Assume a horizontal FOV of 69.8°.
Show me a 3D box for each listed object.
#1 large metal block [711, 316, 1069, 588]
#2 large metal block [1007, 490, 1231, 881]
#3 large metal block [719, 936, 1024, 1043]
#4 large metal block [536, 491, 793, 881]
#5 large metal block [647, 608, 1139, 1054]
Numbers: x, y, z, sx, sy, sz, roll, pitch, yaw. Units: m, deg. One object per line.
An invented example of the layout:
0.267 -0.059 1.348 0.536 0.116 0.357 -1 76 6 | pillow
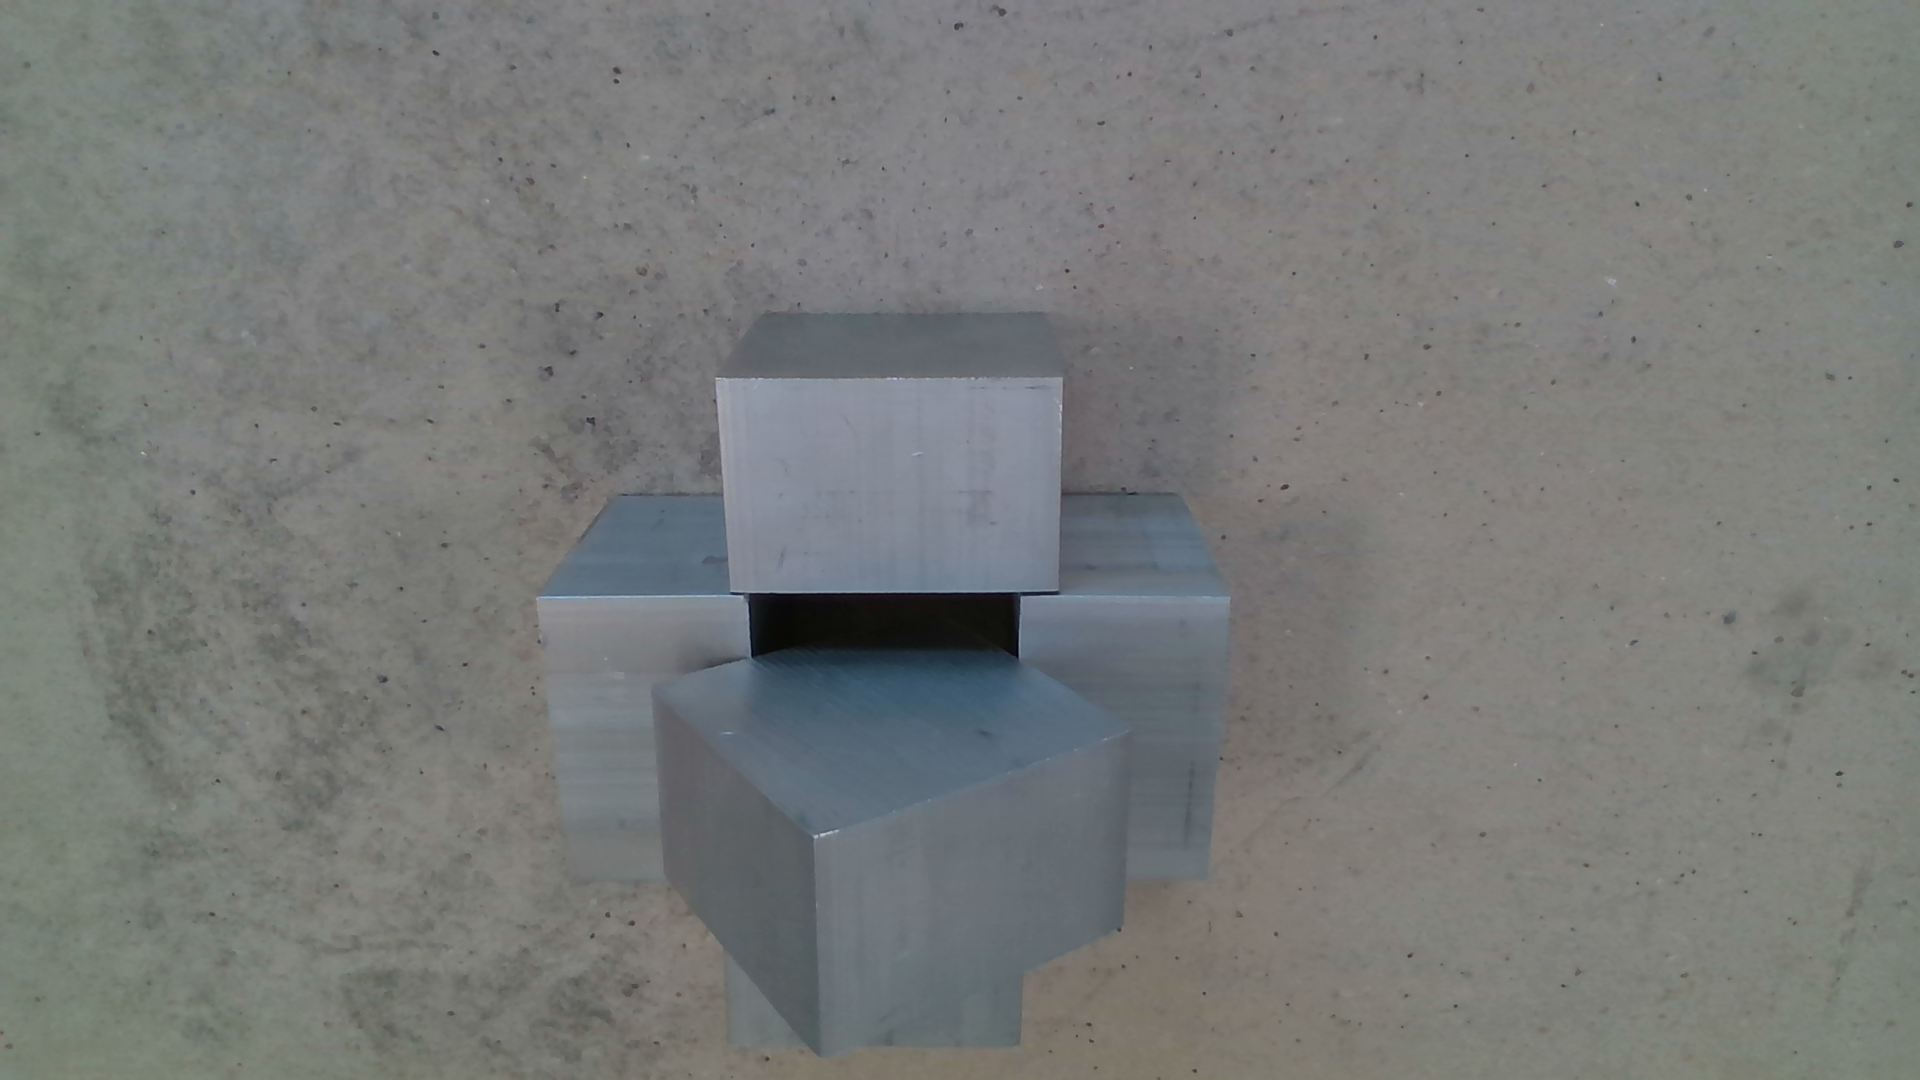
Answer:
-0.016 -0.026 0.354 0.080 0.080 0.050 0 110 0 | large metal block
0.039 0.036 0.378 0.050 0.080 0.080 1 110 0 | large metal block
-0.023 0.098 0.401 0.080 0.080 0.050 1 110 0 | large metal block
-0.076 0.037 0.378 0.050 0.080 0.080 0 110 0 | large metal block
-0.017 0.060 0.317 0.080 0.080 0.050 -12 114 -32 | large metal block
